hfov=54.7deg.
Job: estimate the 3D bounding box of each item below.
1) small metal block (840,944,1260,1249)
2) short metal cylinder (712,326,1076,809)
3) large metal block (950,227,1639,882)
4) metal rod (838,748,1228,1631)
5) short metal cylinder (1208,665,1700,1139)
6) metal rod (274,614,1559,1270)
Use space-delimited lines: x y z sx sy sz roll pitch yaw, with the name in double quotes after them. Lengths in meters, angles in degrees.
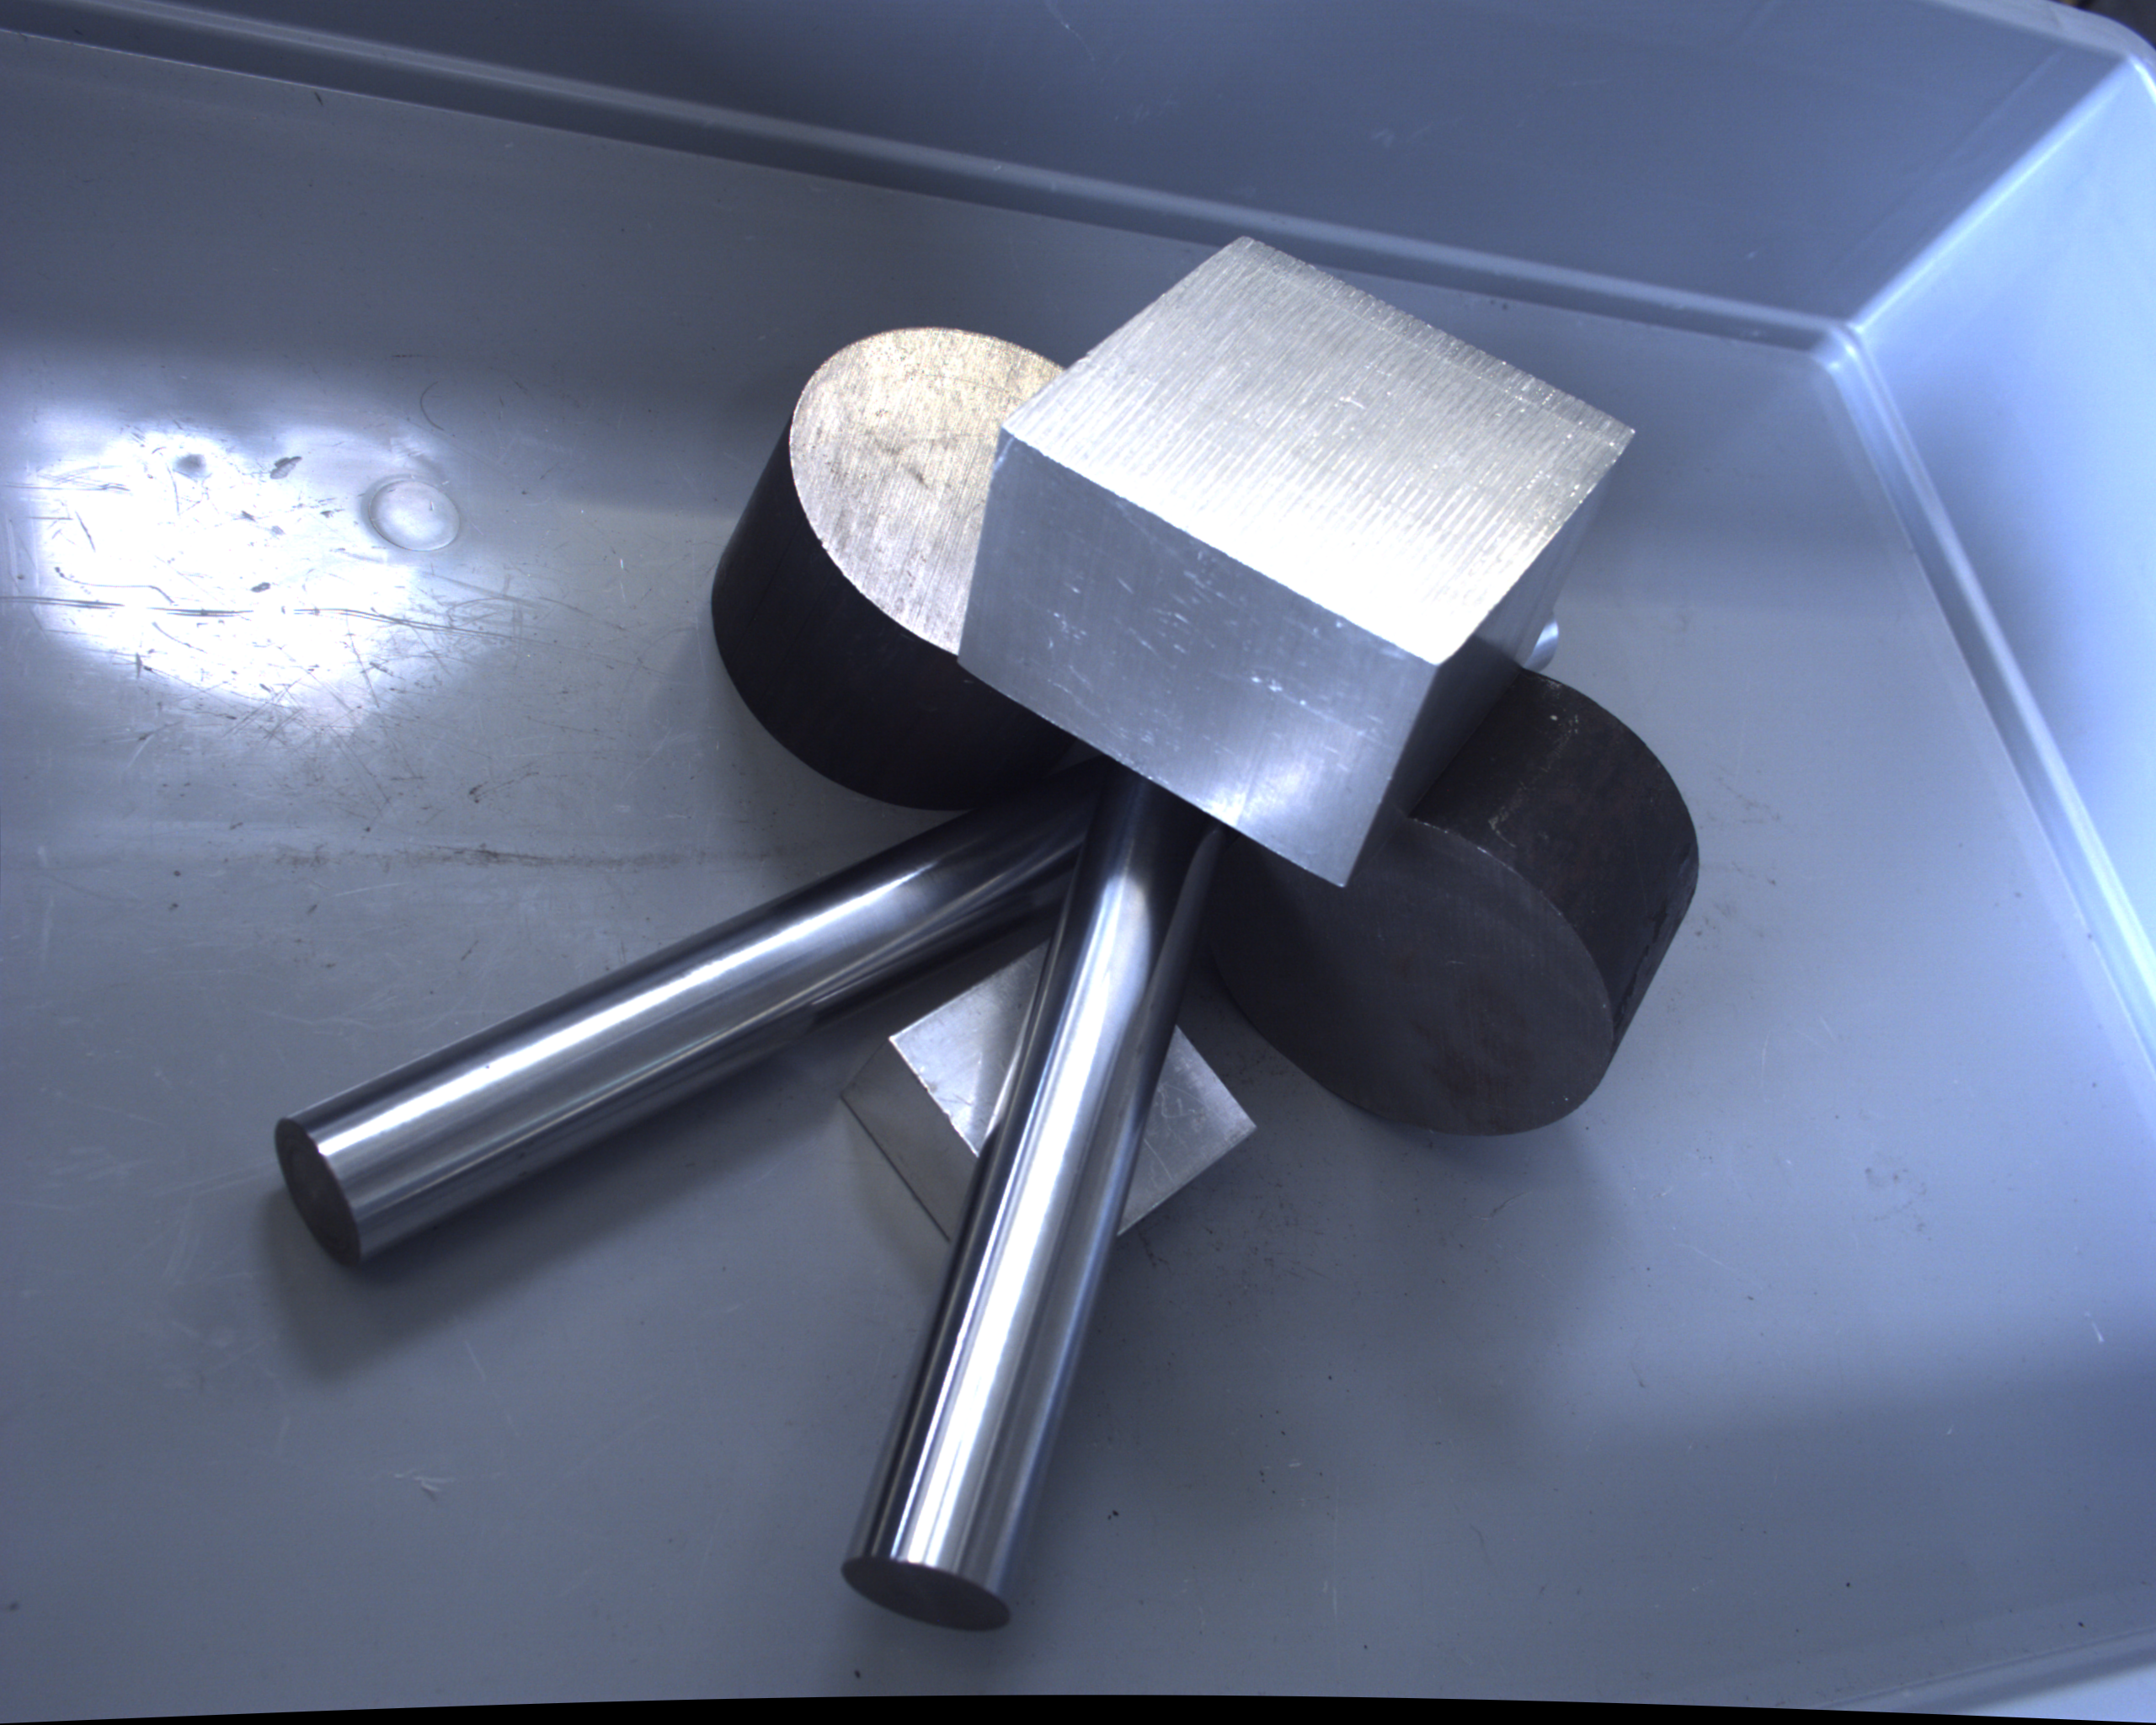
-0.005 0.045 0.374 0.050 0.025 0.050 -32 80 -38 "small metal block"
-0.025 -0.057 0.409 0.081 0.050 0.080 14 56 -21 "short metal cylinder"
0.037 -0.056 0.360 0.080 0.050 0.080 32 50 14 "large metal block"
0.016 -0.010 0.386 0.025 0.025 0.300 27 52 -12 "metal rod"
0.072 0.007 0.404 0.080 0.080 0.050 40 52 -1 "short metal cylinder"
-0.005 -0.003 0.403 0.302 0.025 0.025 -26 76 -37 "metal rod"
